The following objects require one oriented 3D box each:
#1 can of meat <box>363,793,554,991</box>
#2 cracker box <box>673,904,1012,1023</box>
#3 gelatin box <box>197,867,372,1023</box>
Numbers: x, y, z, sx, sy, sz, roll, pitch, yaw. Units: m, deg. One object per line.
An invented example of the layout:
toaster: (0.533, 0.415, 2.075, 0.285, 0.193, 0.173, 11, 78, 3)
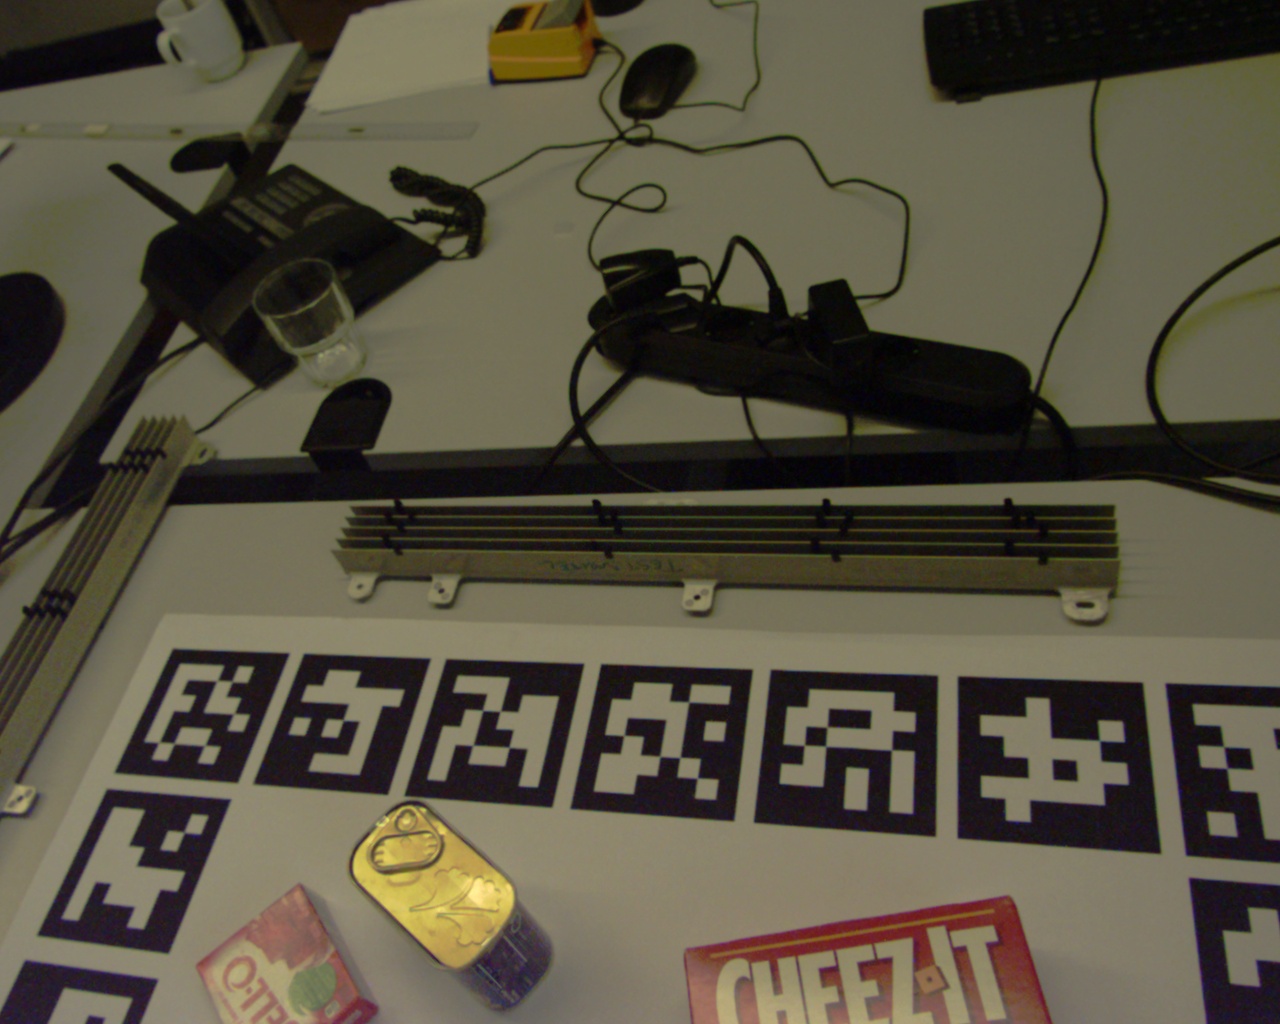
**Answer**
can of meat: (-0.105, 0.228, 0.677, 0.103, 0.083, 0.057, 27, 61, 35)
cracker box: (0.111, 0.312, 0.543, 0.164, 0.071, 0.215, -12, 46, 5)
gelatin box: (-0.217, 0.276, 0.696, 0.073, 0.030, 0.090, -35, 52, -18)
